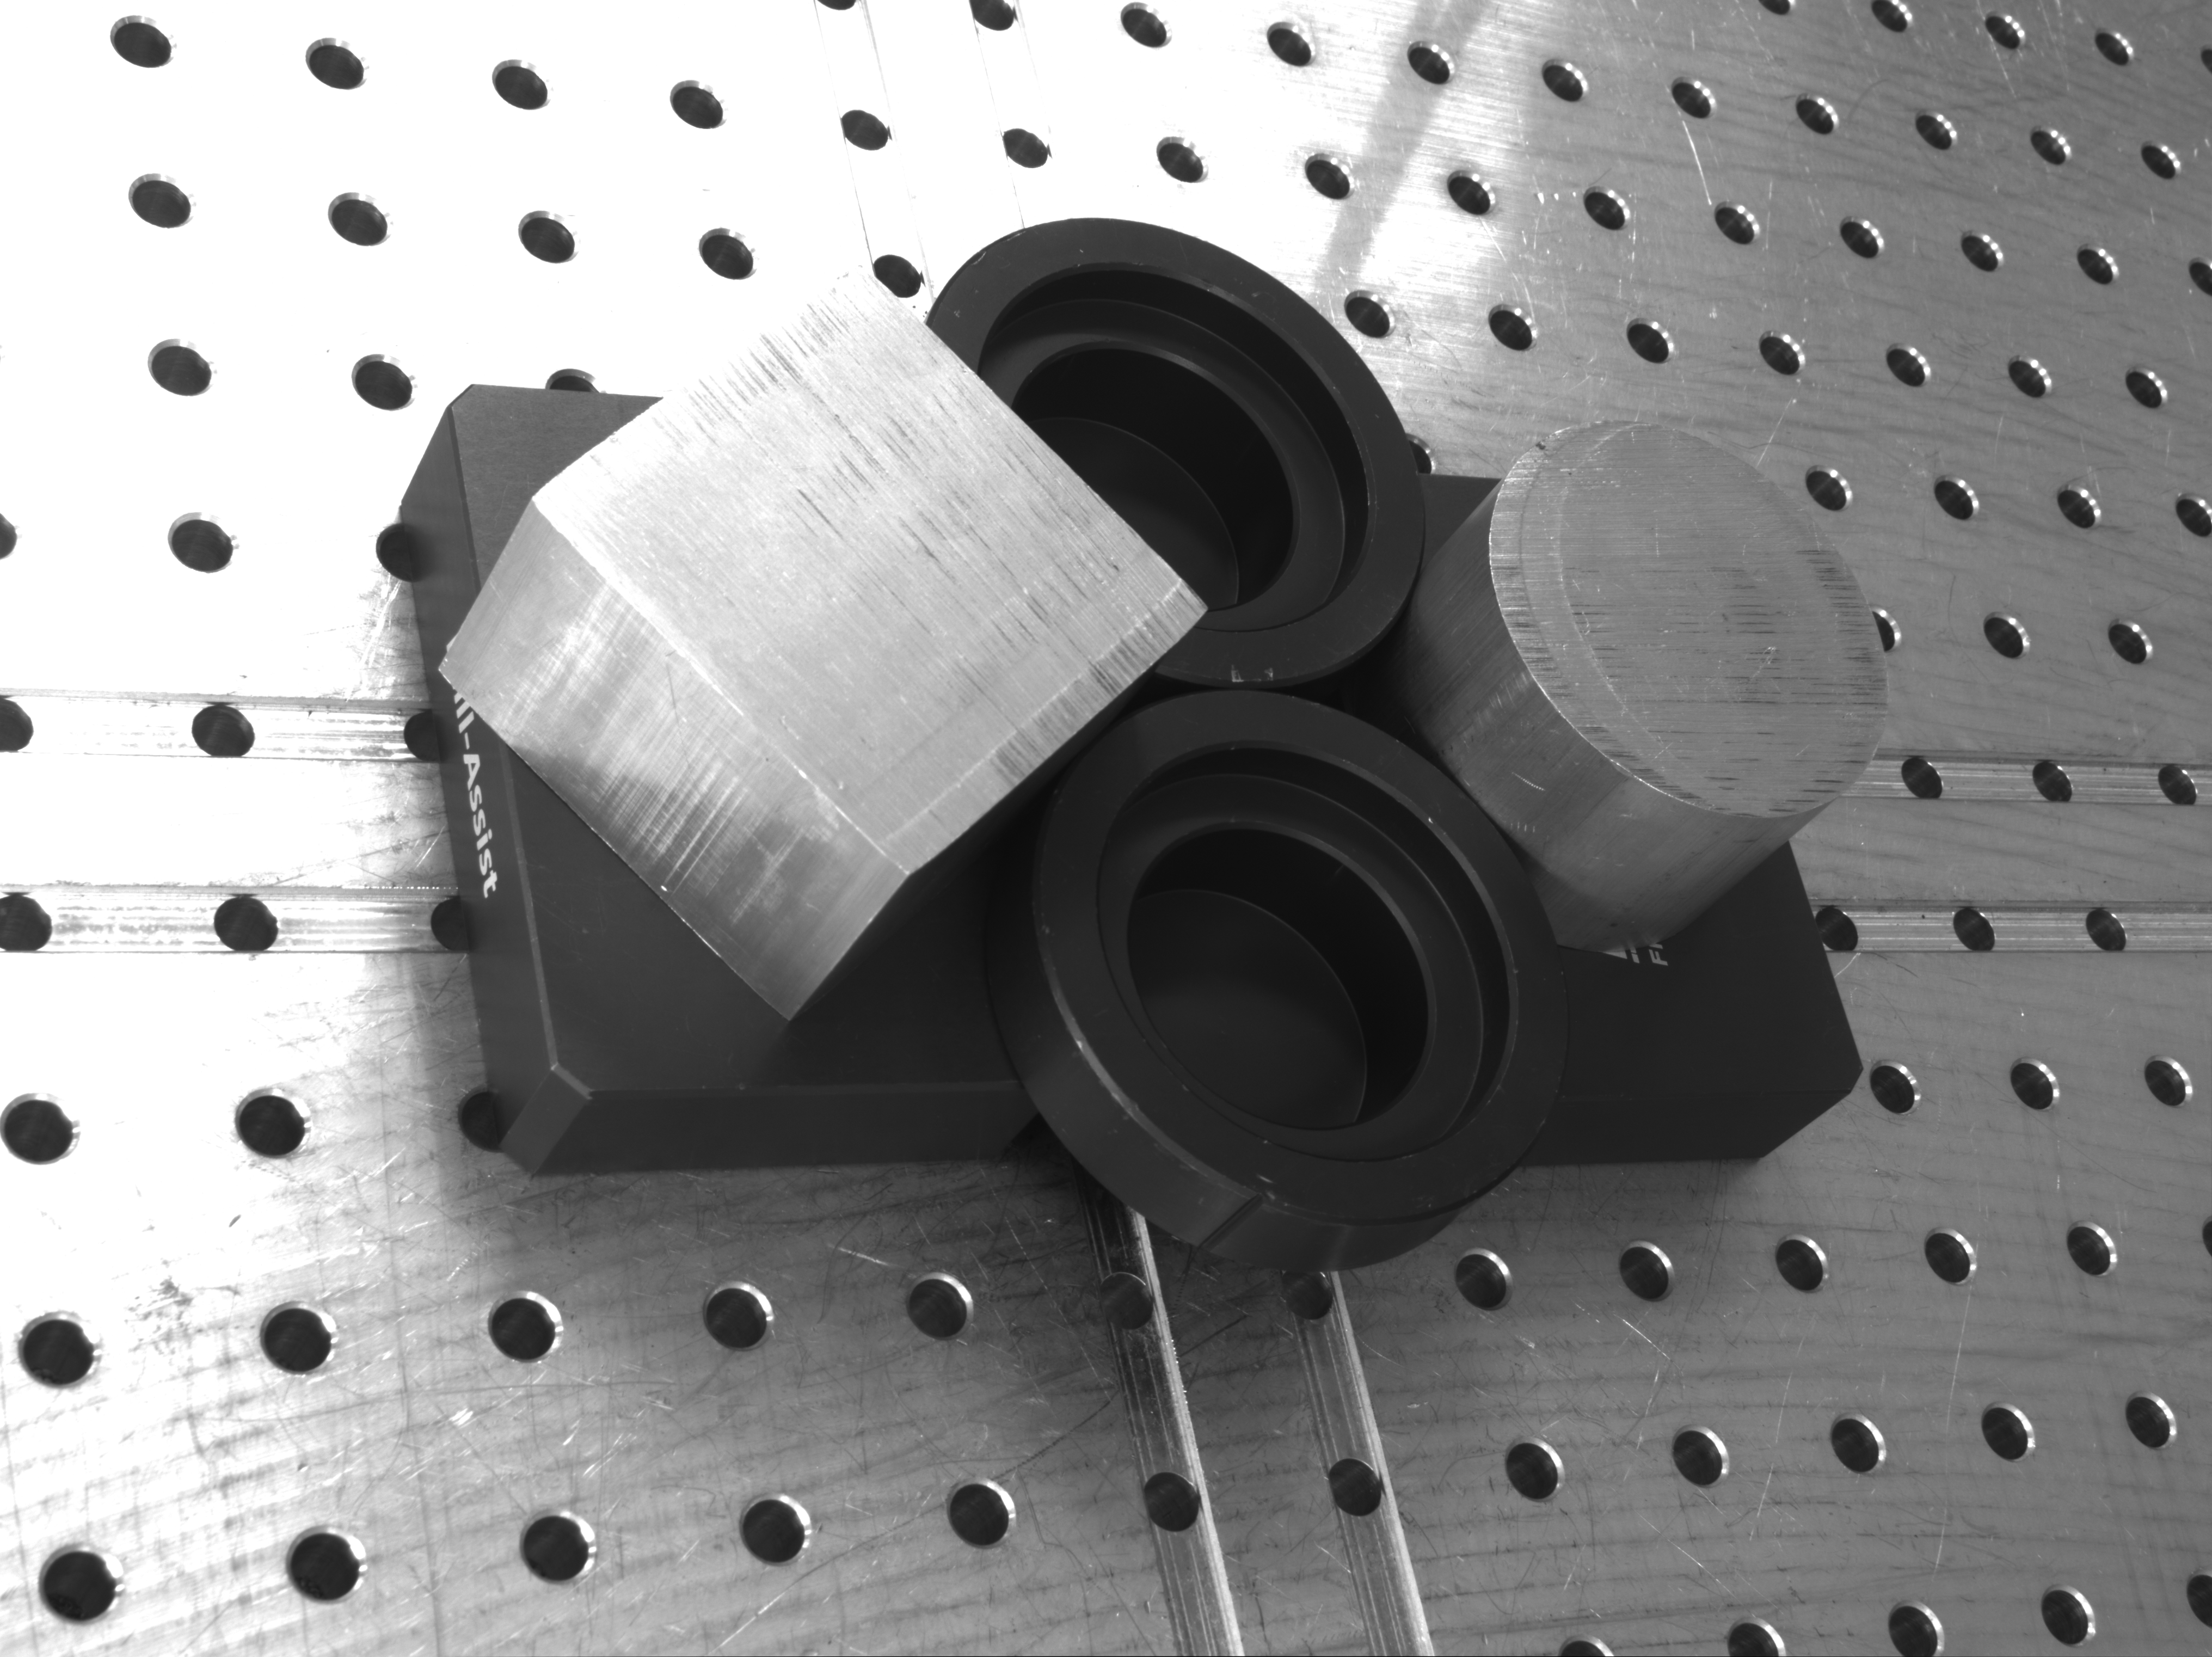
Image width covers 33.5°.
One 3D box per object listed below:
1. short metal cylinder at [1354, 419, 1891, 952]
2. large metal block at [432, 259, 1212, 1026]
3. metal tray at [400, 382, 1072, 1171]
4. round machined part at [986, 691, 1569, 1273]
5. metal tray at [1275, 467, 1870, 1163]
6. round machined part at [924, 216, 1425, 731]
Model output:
[{"bbox_3d":[0.091,-0.025,0.651,0.080,0.050,0.080,13,56,-21],"label":"short metal cylinder"},{"bbox_3d":[-0.045,-0.030,0.582,0.080,0.050,0.080,45,51,3],"label":"large metal block"},{"bbox_3d":[-0.062,-0.009,0.612,0.090,0.030,0.130,1,61,-29],"label":"metal tray"},{"bbox_3d":[0.025,0.029,0.615,0.098,0.042,0.098,13,56,-21],"label":"round machined part"},{"bbox_3d":[0.080,-0.004,0.682,0.090,0.030,0.130,1,61,-28],"label":"metal tray"},{"bbox_3d":[0.004,-0.058,0.657,0.098,0.042,0.098,13,56,-21],"label":"round machined part"}]
